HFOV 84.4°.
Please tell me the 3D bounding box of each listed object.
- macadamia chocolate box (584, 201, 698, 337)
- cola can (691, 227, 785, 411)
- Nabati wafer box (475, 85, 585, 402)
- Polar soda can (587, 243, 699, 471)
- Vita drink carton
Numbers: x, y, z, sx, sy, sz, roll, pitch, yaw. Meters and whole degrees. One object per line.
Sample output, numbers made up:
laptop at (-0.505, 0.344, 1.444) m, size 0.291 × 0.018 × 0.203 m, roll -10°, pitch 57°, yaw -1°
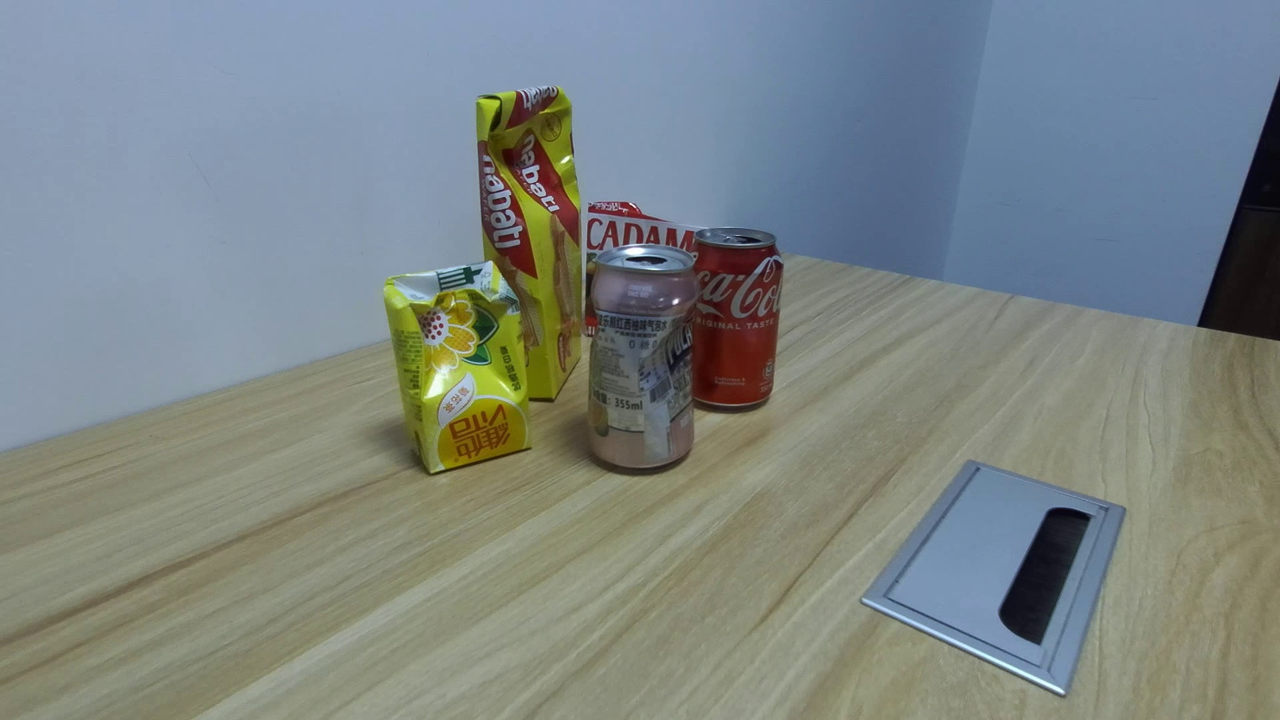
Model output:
macadamia chocolate box at (0.016, -0.074, 0.603) m, size 0.126 × 0.112 × 0.056 m, roll 8°, pitch 20°, yaw 16°
cola can at (0.064, -0.030, 0.491) m, size 0.068 × 0.120 × 0.068 m, roll 1°, pitch 22°, yaw 0°
Nabati wafer box at (-0.072, -0.081, 0.500) m, size 0.042 × 0.205 × 0.113 m, roll 3°, pitch 23°, yaw 11°
Polar soda can at (0.003, 0.001, 0.414) m, size 0.074 × 0.122 × 0.067 m, roll -13°, pitch 22°, yaw -32°
Vita drink carton at (-0.105, 0.004, 0.416) m, size 0.071 × 0.110 × 0.046 m, roll -13°, pitch 24°, yaw -28°
